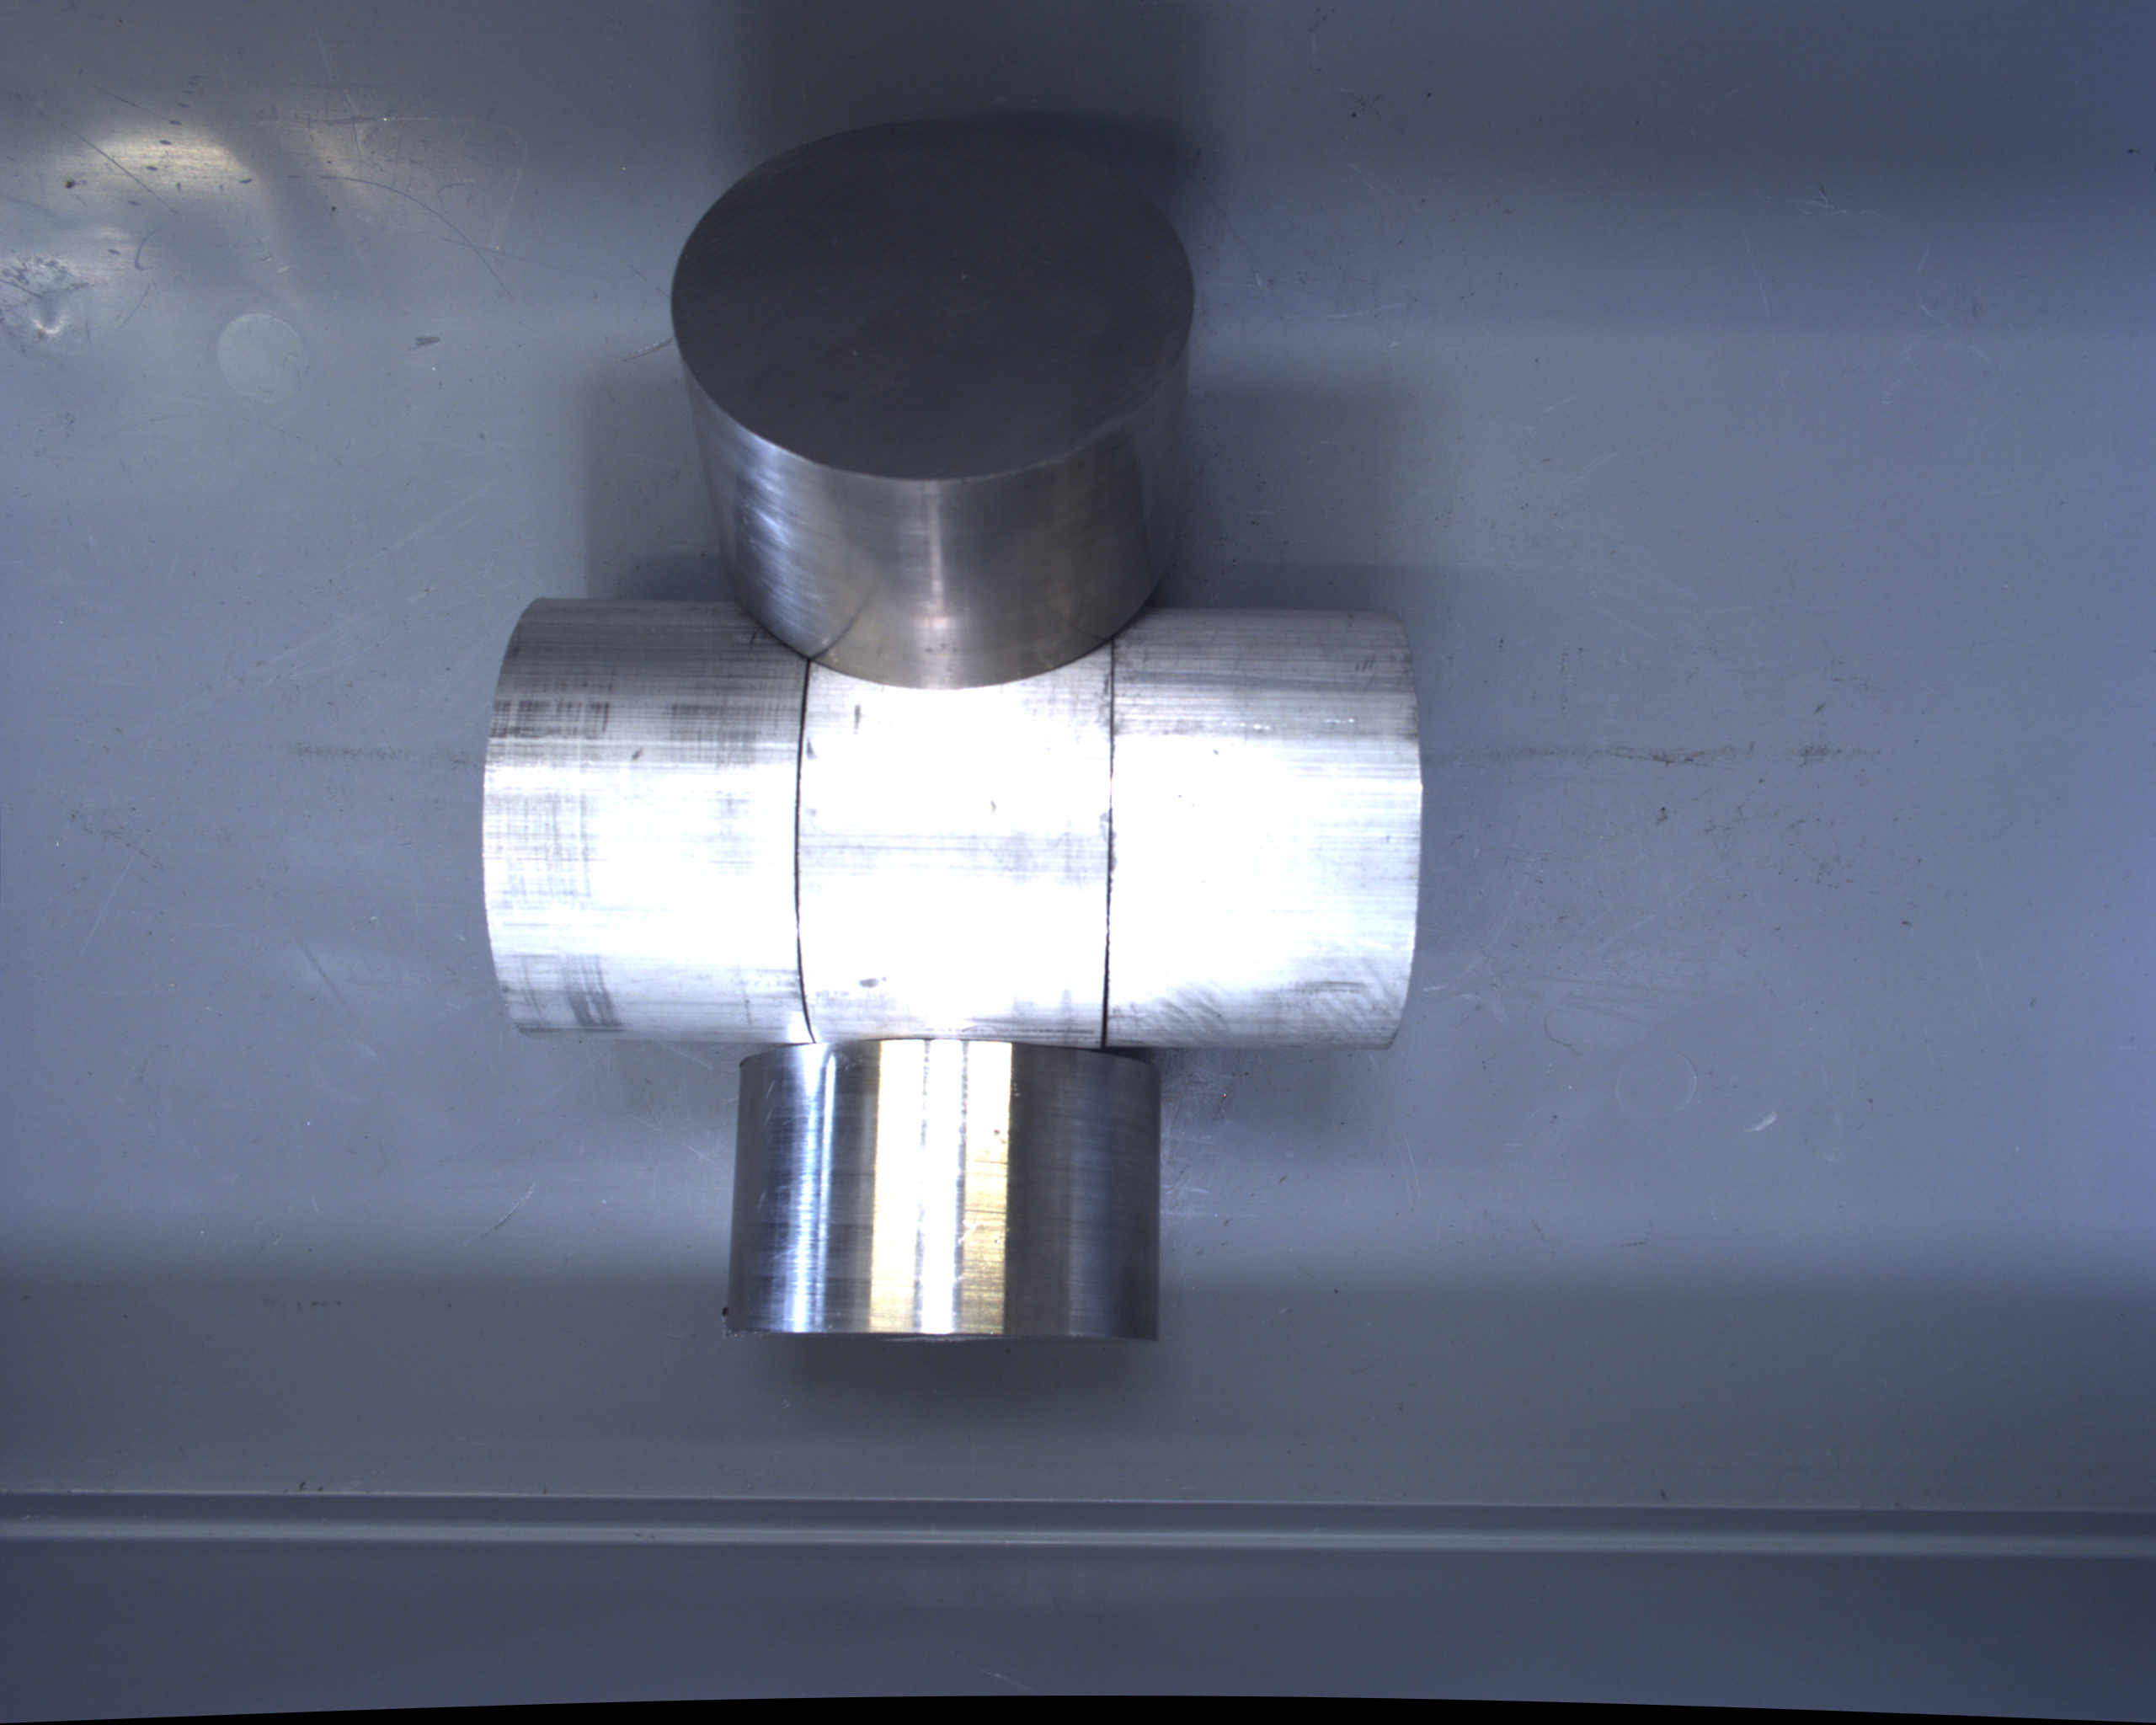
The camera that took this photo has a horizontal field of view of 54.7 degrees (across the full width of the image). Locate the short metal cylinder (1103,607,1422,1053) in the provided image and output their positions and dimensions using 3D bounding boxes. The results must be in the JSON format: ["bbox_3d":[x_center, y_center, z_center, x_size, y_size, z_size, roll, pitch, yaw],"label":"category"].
[{"bbox_3d":[0.031,-0.006,0.378,0.050,0.080,0.079,1,110,0],"label":"short metal cylinder"}]

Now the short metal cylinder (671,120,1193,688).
[{"bbox_3d":[-0.023,-0.076,0.344,0.081,0.080,0.050,2,148,-1],"label":"short metal cylinder"}]

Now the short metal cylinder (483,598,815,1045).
[{"bbox_3d":[-0.071,-0.007,0.377,0.050,0.080,0.079,1,110,0],"label":"short metal cylinder"}]

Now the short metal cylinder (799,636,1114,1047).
[{"bbox_3d":[-0.020,-0.006,0.377,0.050,0.080,0.079,1,110,0],"label":"short metal cylinder"}]

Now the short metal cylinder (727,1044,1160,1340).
[{"bbox_3d":[-0.025,0.065,0.396,0.081,0.080,0.050,0,76,0],"label":"short metal cylinder"}]
